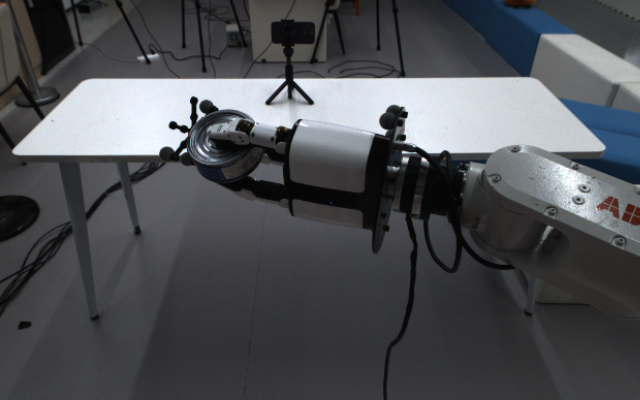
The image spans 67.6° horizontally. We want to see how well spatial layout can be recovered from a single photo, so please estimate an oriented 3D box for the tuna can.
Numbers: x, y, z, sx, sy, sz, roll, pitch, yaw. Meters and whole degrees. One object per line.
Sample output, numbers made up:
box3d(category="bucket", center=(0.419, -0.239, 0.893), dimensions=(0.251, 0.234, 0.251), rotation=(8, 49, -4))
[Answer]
box3d(category="tuna can", center=(-0.106, -0.059, 0.566), dimensions=(0.085, 0.034, 0.085), rotation=(-3, 59, 5))
